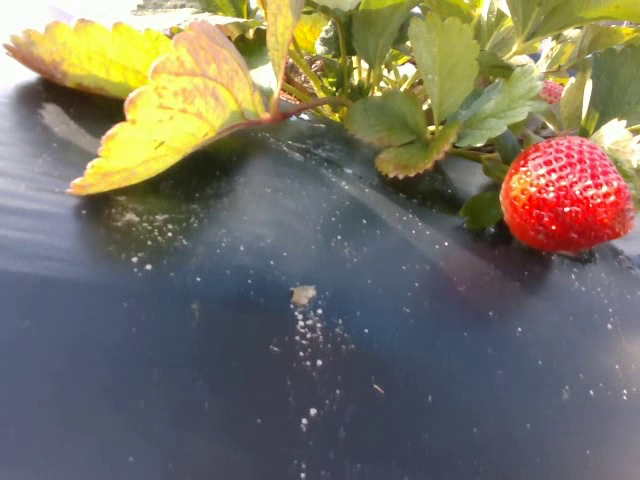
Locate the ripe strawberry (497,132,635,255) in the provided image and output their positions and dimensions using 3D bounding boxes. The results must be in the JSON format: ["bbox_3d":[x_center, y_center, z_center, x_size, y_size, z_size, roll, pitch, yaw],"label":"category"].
[{"bbox_3d":[0.072,-0.012,0.161,0.041,0.041,0.047,-16,17,-9],"label":"ripe strawberry"}]
